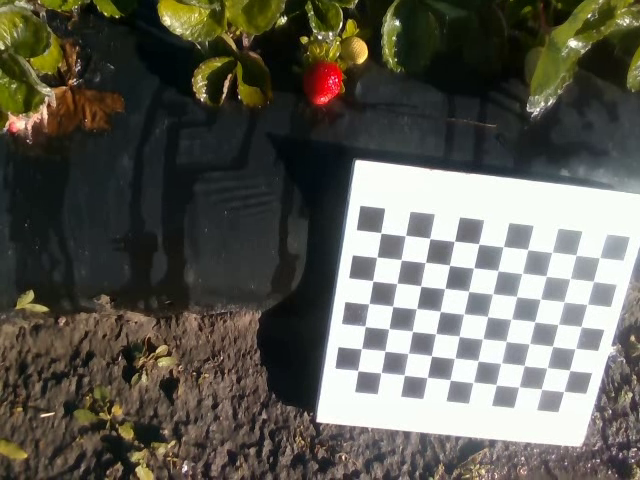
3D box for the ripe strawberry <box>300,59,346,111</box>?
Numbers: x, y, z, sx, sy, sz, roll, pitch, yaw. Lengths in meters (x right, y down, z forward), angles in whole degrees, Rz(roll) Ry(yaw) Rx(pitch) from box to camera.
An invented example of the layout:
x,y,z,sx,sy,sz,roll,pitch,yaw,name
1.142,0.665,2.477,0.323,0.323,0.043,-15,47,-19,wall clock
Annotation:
x,y,z,sx,sy,sz,roll,pitch,yaw,name
0.002,-0.106,0.426,0.039,0.040,0.039,0,40,8,ripe strawberry
